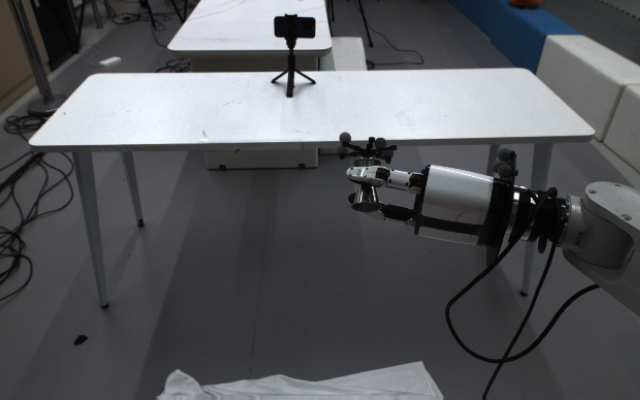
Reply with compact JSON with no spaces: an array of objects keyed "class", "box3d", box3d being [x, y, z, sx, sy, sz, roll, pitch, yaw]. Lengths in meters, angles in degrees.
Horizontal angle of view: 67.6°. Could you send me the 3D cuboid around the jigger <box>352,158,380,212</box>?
[{"class":"jigger","box3d":[0.065,-0.023,0.686,0.043,0.043,0.071,3,72,1]}]
